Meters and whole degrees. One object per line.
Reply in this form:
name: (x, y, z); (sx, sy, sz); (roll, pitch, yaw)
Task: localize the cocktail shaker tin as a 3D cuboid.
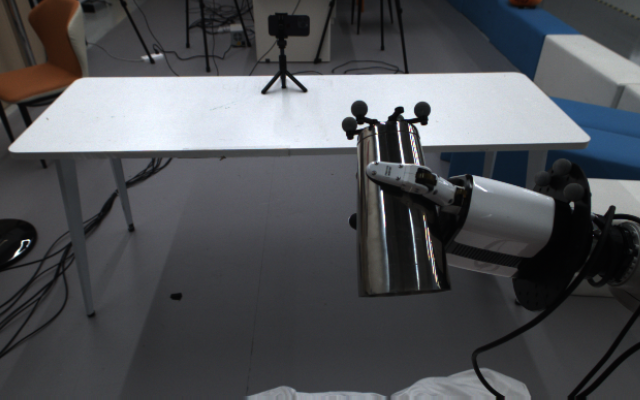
cocktail shaker tin: (0.080, 0.011, 0.500); (0.093, 0.093, 0.170); (-3, 76, -8)
